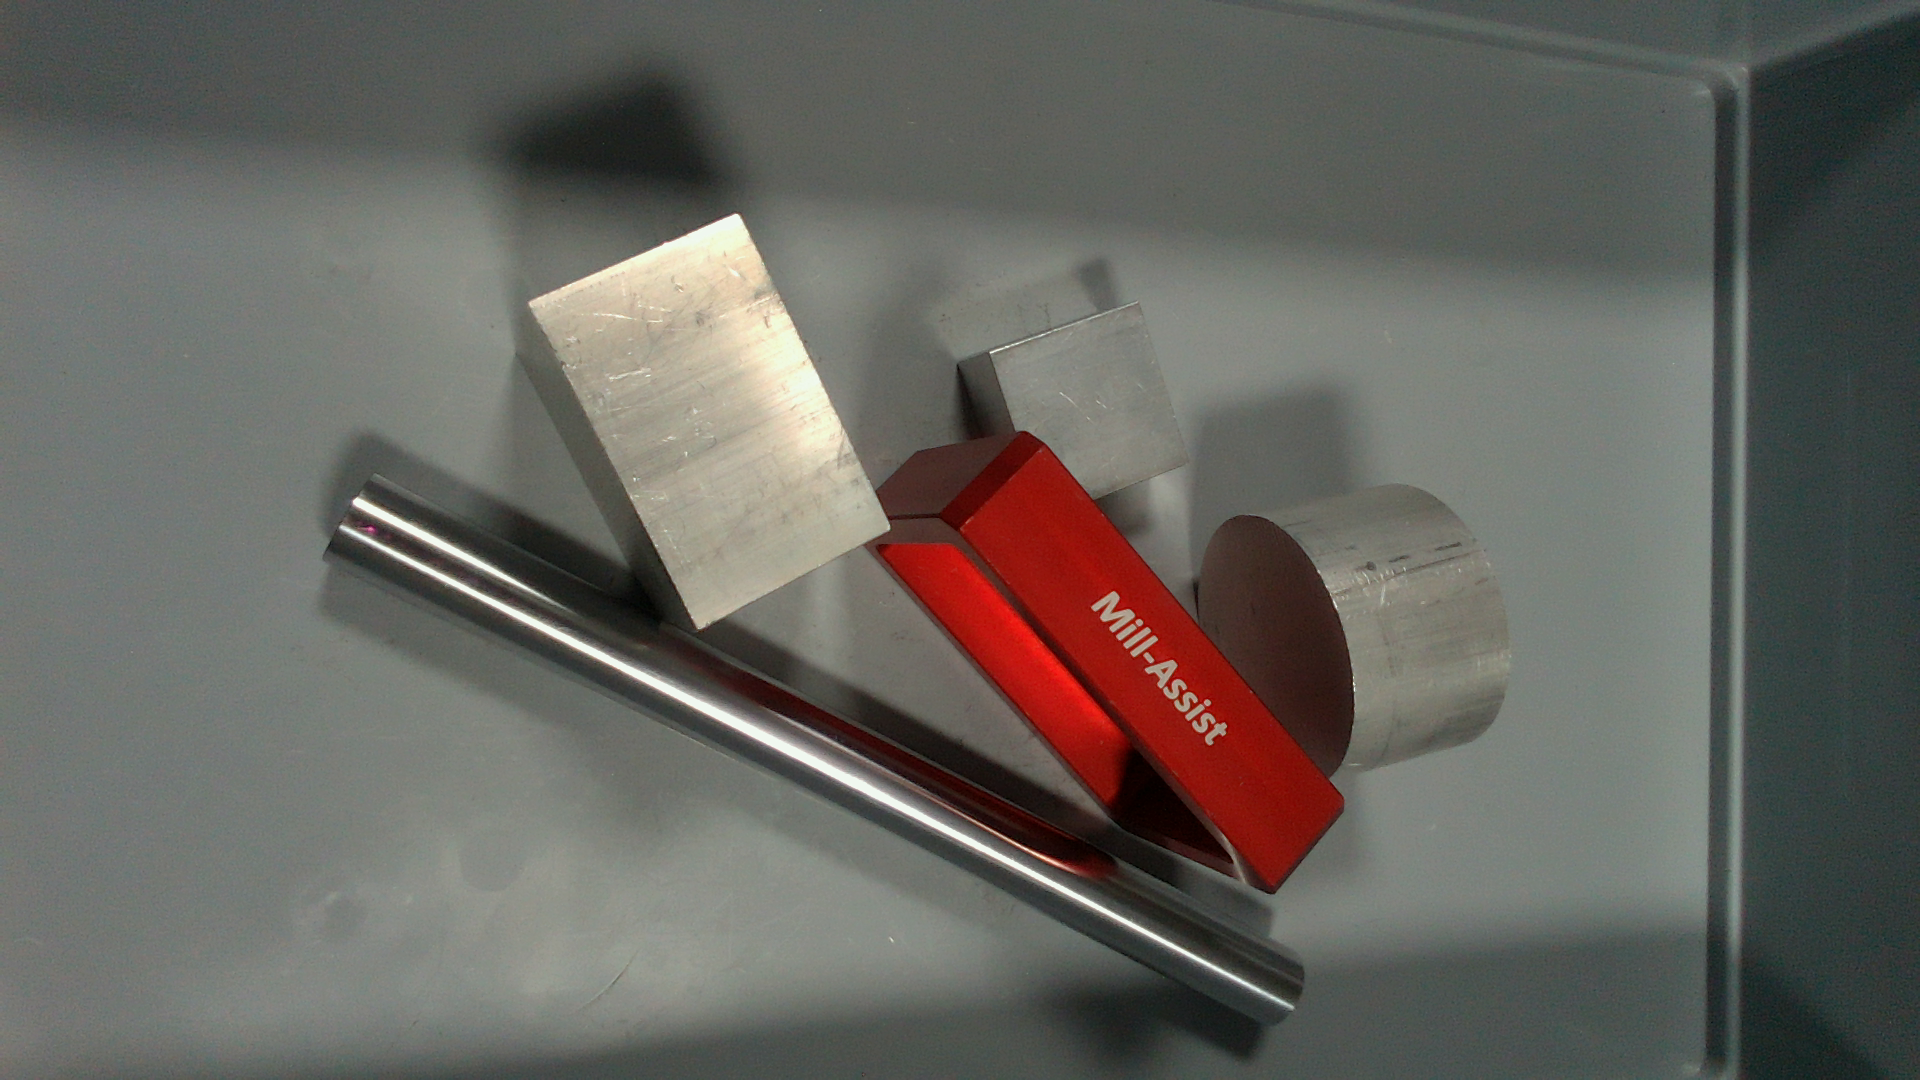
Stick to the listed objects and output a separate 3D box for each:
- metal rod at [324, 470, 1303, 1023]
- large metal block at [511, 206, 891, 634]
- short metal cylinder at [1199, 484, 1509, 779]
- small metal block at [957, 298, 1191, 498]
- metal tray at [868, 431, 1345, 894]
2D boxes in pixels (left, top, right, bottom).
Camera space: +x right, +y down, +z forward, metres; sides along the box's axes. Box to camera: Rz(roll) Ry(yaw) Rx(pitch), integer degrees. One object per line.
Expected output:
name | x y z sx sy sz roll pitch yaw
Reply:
metal rod | -0.026 0.066 0.383 0.301 0.025 0.025 30 80 -18
large metal block | -0.067 -0.027 0.339 0.050 0.080 0.080 -28 99 -18
short metal cylinder | 0.113 0.027 0.404 0.050 0.080 0.080 -12 94 -18
small metal block | 0.033 -0.038 0.403 0.050 0.025 0.050 -21 97 -19
metal tray | 0.033 0.032 0.369 0.030 0.090 0.130 -45 104 -15
